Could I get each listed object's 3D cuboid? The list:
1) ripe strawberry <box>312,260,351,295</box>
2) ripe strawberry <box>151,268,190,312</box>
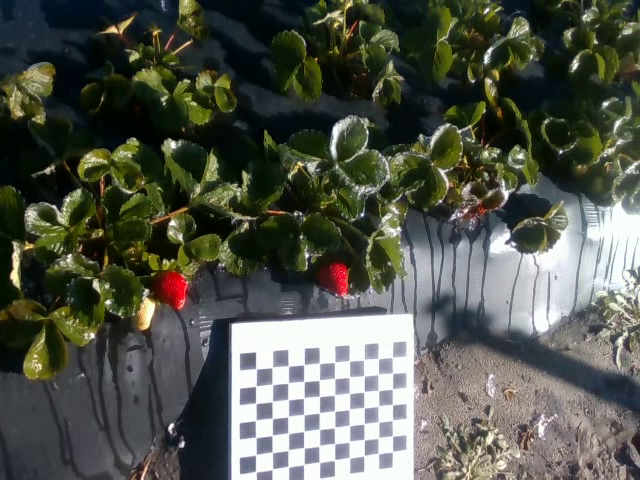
[{"bbox_3d":[0.023,0.059,0.834,0.048,0.061,0.044,-7,-29,-21],"label":"ripe strawberry"},{"bbox_3d":[-0.191,0.072,0.757,0.042,0.061,0.046,-15,-35,-20],"label":"ripe strawberry"}]
